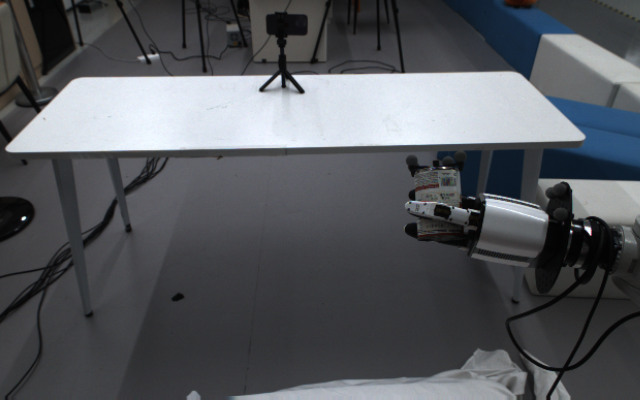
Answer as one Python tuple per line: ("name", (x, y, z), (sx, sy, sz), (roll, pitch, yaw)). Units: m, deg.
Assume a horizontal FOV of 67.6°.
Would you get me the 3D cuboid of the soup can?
("soup can", (0.175, 0.007, 0.709), (0.067, 0.101, 0.067), (-1, -9, 0))
